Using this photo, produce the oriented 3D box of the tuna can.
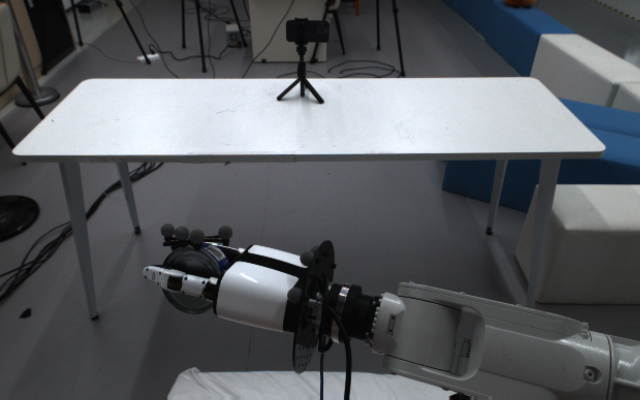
[{"bbox_3d":[-0.152,0.098,0.609,0.085,0.085,0.034,11,8,13],"label":"tuna can"}]
